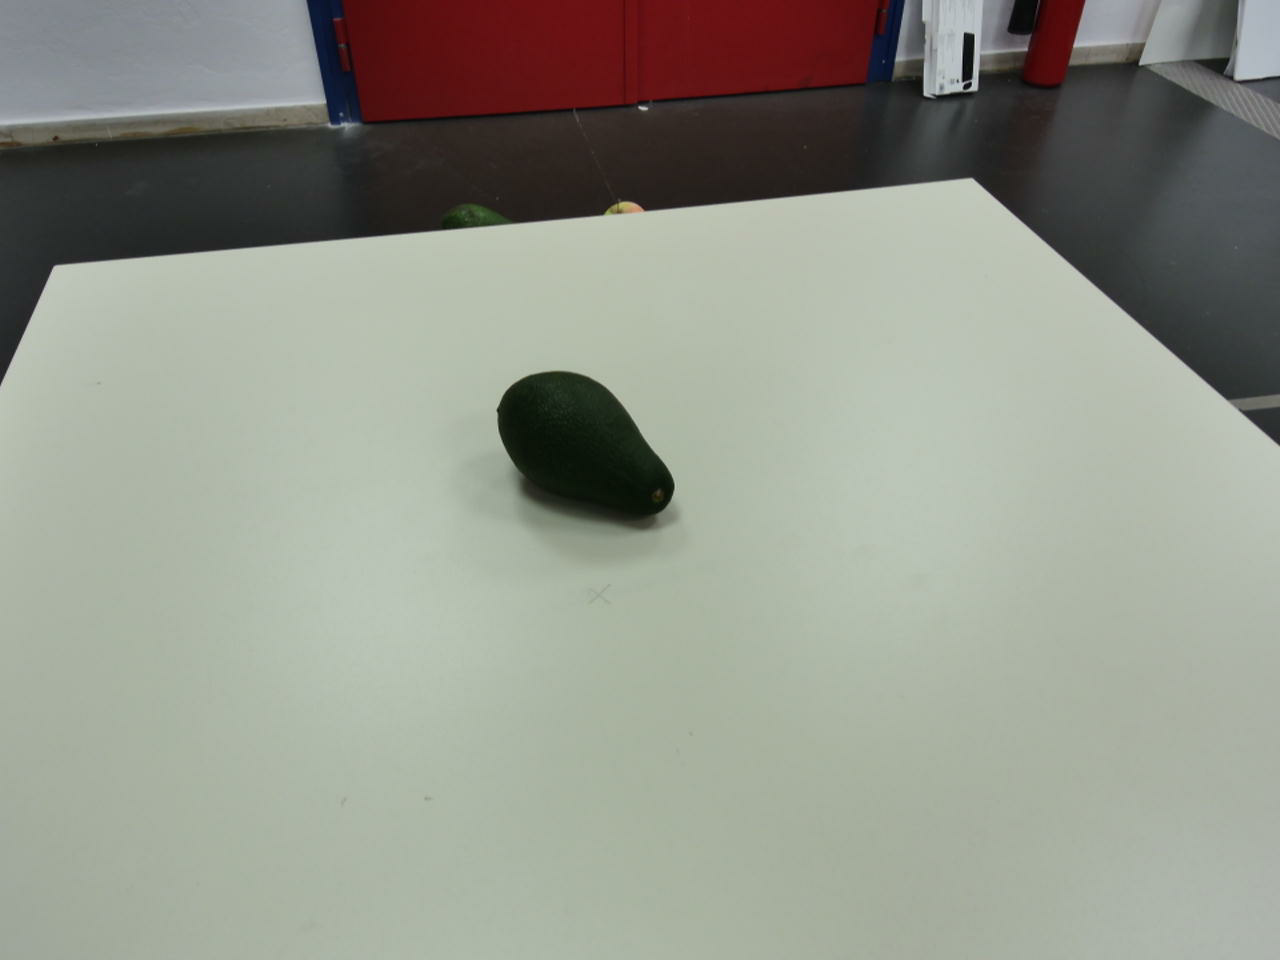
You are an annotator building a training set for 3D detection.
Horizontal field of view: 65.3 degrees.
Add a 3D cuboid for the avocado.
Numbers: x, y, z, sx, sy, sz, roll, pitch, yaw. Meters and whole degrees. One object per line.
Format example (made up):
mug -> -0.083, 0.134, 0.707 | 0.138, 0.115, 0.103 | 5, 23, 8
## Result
avocado -> -0.034, -0.021, 0.578 | 0.072, 0.071, 0.109 | -25, 45, -27
